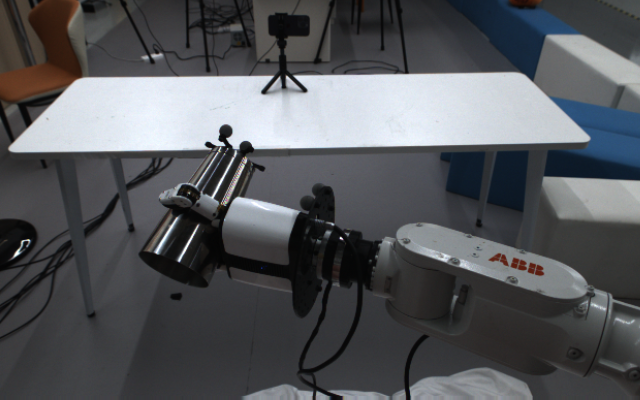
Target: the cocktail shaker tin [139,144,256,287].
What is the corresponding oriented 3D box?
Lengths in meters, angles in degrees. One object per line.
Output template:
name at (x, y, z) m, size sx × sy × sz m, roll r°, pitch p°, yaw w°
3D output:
cocktail shaker tin at (-0.150, 0.017, 0.623) m, size 0.093 × 0.093 × 0.170 m, roll 14°, pitch 61°, yaw 17°
